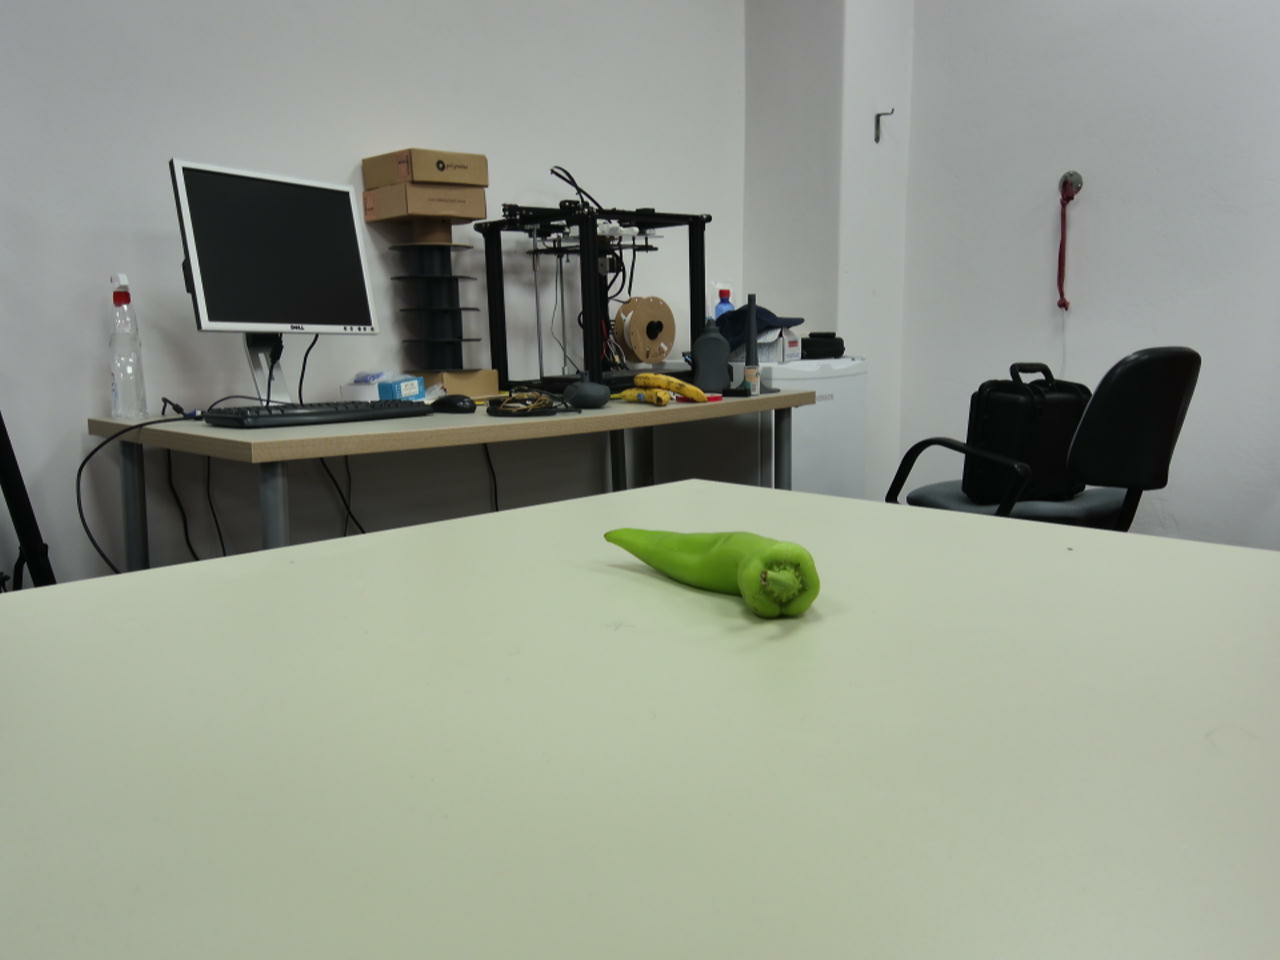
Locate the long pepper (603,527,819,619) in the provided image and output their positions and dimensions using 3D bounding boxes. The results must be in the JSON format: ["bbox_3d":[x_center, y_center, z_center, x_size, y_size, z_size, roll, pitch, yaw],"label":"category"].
[{"bbox_3d":[0.049,0.050,0.646,0.065,0.045,0.205,-3,7,-27],"label":"long pepper"}]
